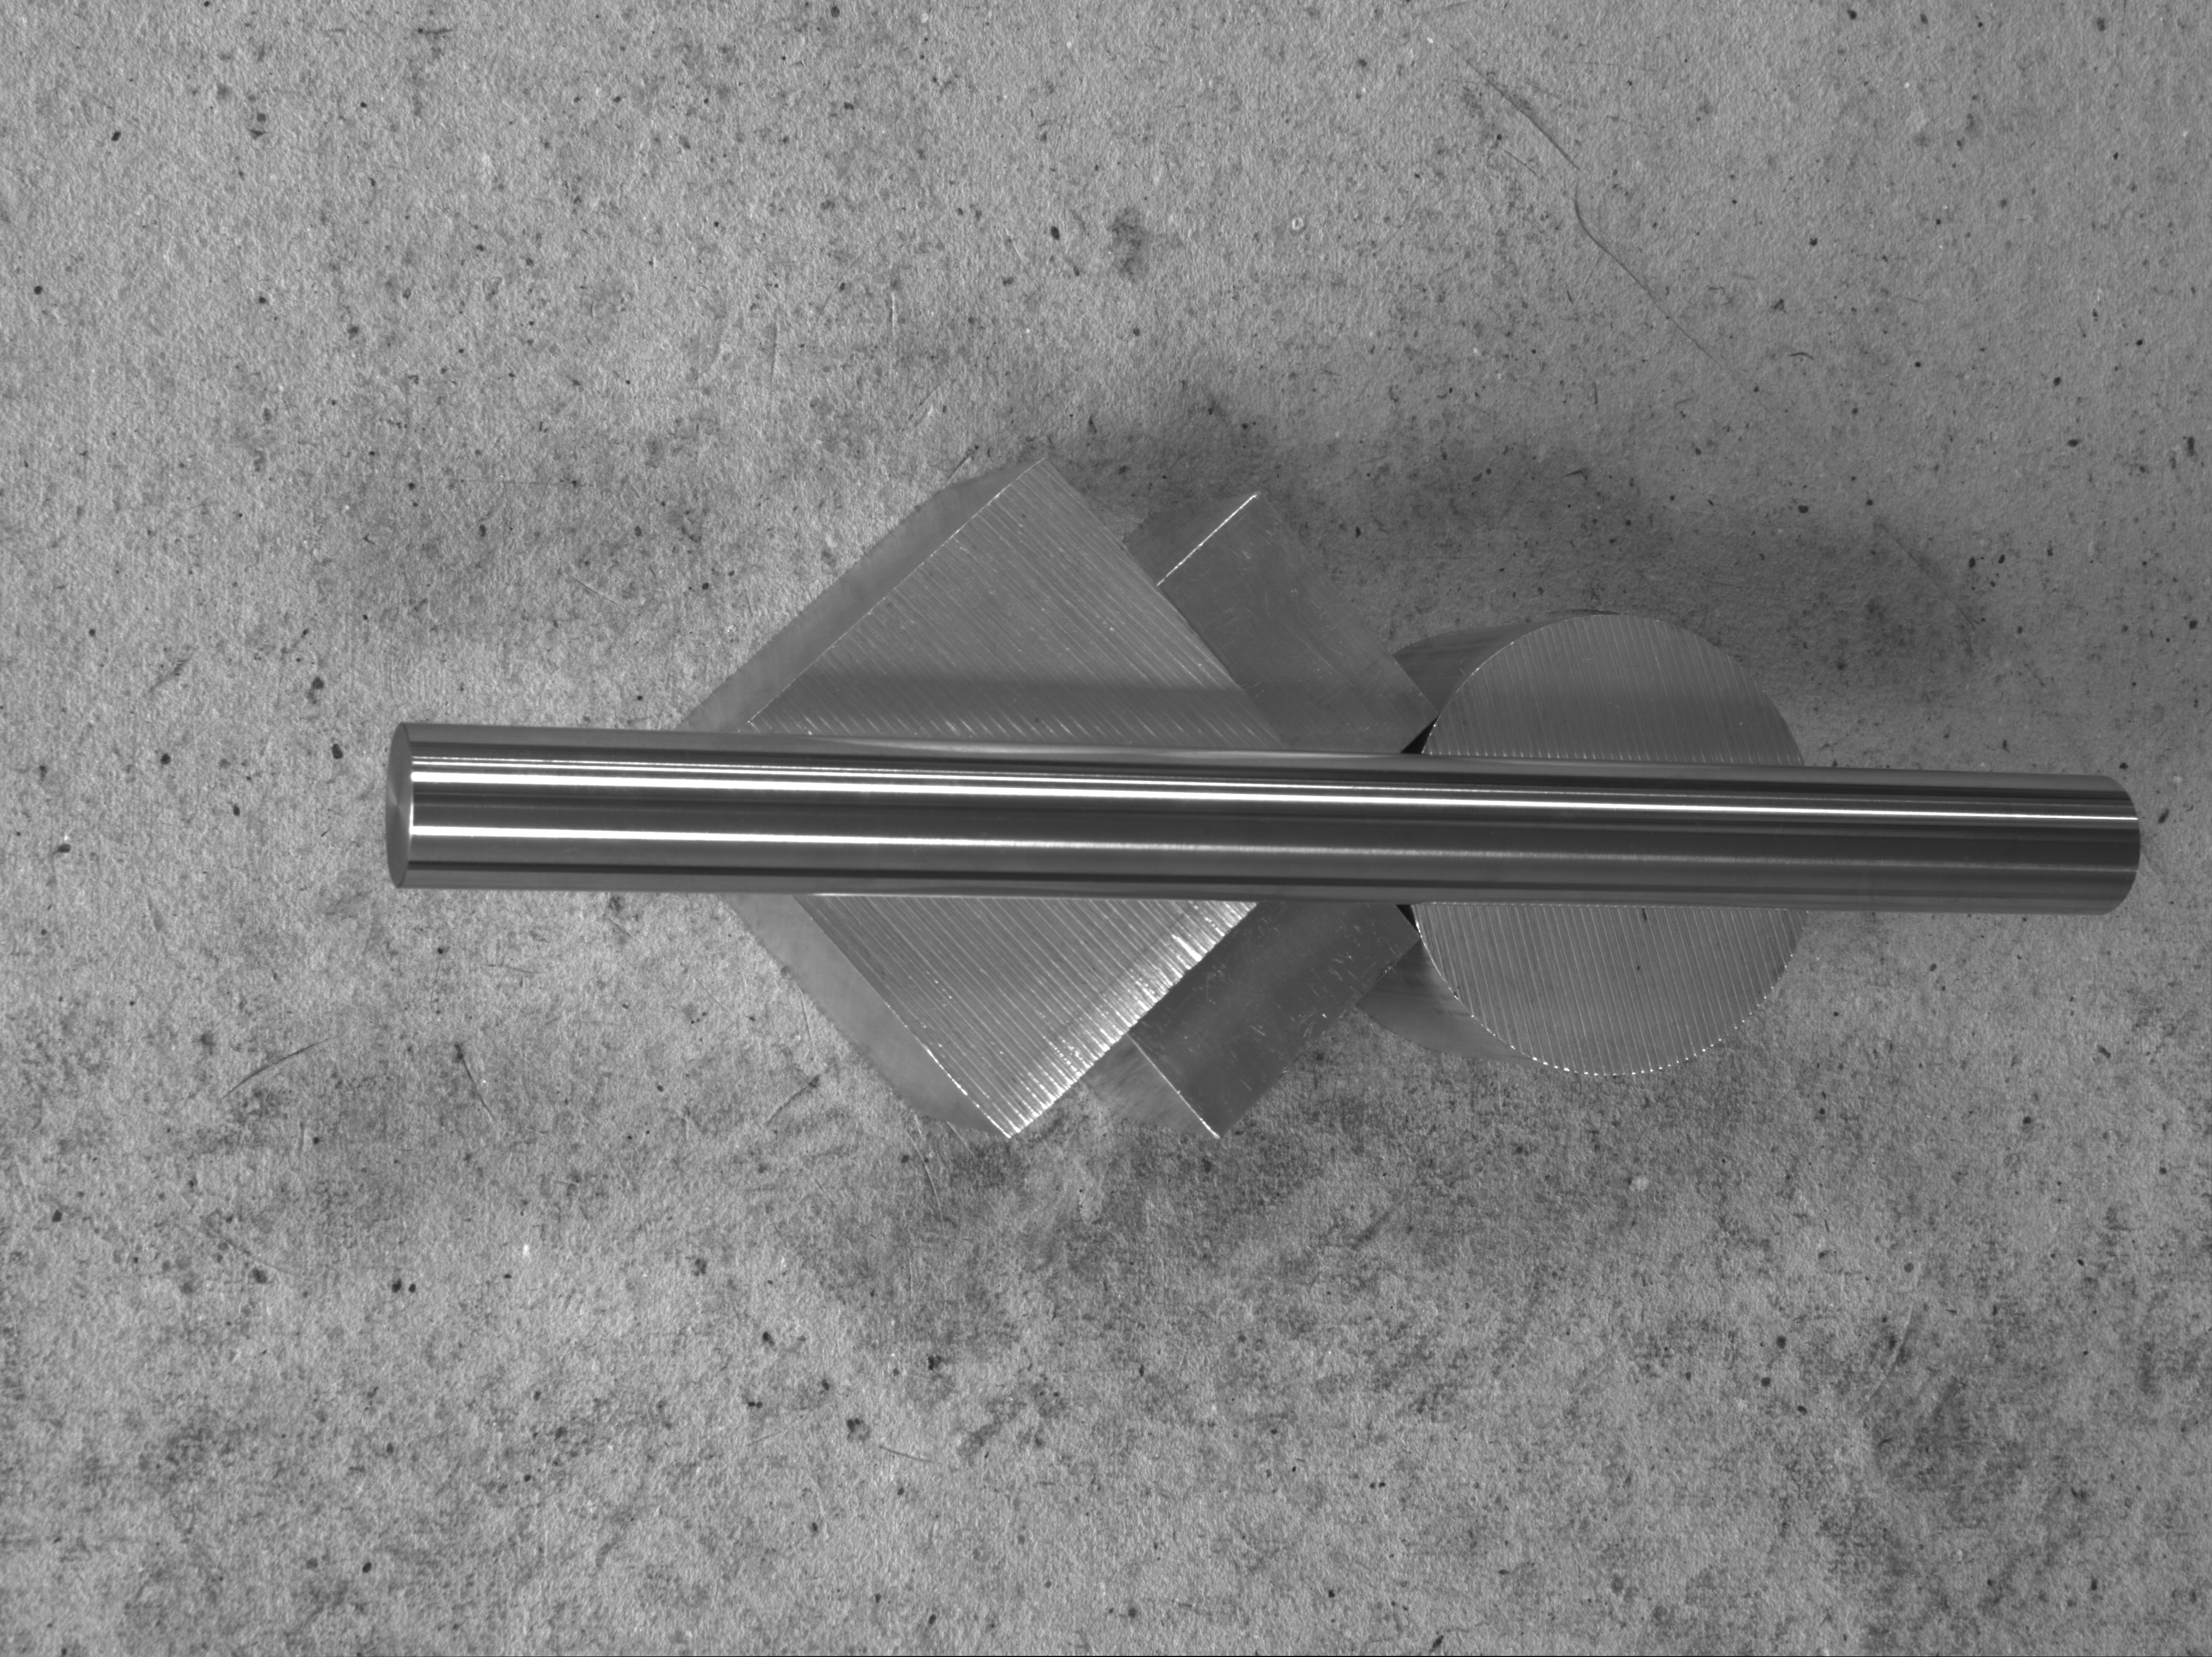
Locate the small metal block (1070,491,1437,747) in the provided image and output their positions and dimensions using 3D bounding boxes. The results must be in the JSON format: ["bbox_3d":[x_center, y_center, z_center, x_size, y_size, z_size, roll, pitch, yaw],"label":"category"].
[{"bbox_3d":[0.023,-0.030,0.640,0.025,0.050,0.050,-44,104,-14],"label":"small metal block"}]

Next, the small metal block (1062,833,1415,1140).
[{"bbox_3d":[0.019,0.026,0.638,0.050,0.050,0.025,-44,104,-15],"label":"small metal block"}]

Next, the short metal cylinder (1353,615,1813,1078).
[{"bbox_3d":[0.079,0.003,0.658,0.080,0.050,0.080,0,90,-20],"label":"short metal cylinder"}]

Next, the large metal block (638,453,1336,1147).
[{"bbox_3d":[-0.022,-0.005,0.621,0.080,0.050,0.080,-44,104,-15],"label":"large metal block"}]

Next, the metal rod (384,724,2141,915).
[{"bbox_3d":[0.035,0.000,0.601,0.301,0.025,0.025,1,90,-20],"label":"metal rod"}]
